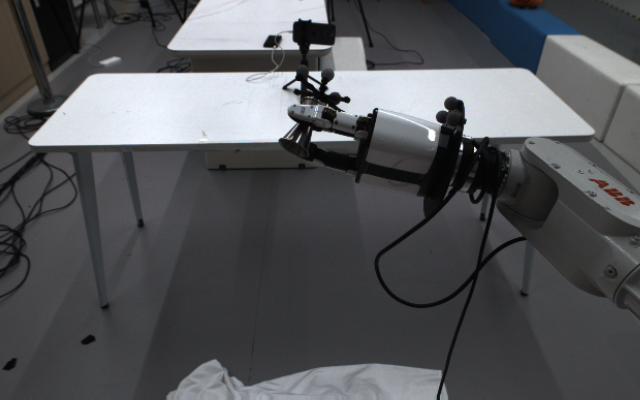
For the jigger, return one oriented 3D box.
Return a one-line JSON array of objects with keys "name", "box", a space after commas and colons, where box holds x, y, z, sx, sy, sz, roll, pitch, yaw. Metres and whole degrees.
[{"name": "jigger", "box": [-0.021, -0.099, 0.635, 0.043, 0.043, 0.071, 19, 72, 23]}]
